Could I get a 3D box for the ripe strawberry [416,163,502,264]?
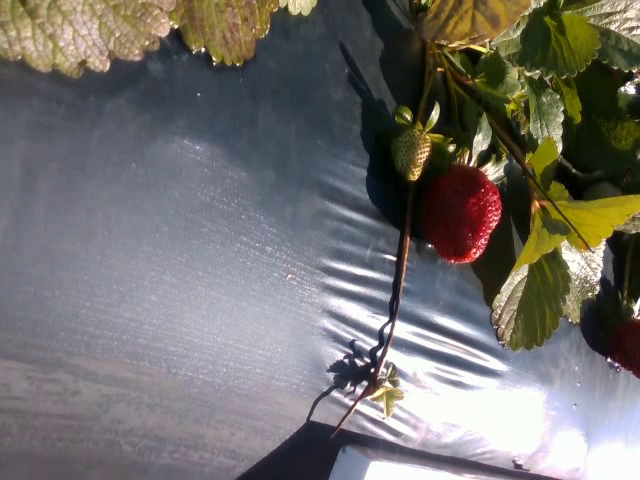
[{"bbox_3d":[0.061,-0.009,0.265,0.043,0.053,0.042,-27,-45,23],"label":"ripe strawberry"}]
